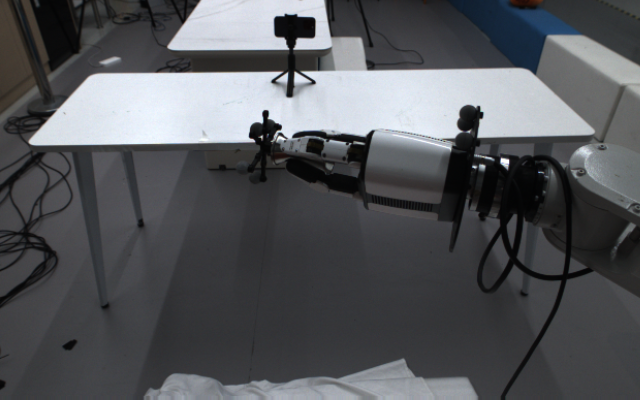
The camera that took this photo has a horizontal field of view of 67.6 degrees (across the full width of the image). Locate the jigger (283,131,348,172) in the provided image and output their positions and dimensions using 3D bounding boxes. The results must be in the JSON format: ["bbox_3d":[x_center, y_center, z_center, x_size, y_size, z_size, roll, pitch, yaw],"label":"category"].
[{"bbox_3d":[-0.014,-0.060,0.572,0.071,0.043,0.043,10,35,16],"label":"jigger"}]
